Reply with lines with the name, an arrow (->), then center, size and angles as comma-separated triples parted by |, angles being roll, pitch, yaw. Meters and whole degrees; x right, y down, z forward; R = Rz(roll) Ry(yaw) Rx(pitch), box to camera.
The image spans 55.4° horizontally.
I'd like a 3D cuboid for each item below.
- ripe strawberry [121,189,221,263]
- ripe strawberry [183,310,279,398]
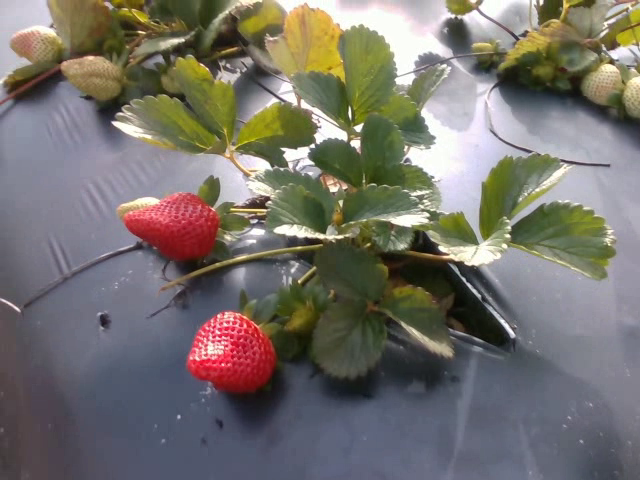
ripe strawberry -> -0.062, -0.008, 0.249 | 0.036, 0.041, 0.035 | 4, 25, -33
ripe strawberry -> -0.034, 0.038, 0.204 | 0.038, 0.033, 0.039 | -39, -24, 32
